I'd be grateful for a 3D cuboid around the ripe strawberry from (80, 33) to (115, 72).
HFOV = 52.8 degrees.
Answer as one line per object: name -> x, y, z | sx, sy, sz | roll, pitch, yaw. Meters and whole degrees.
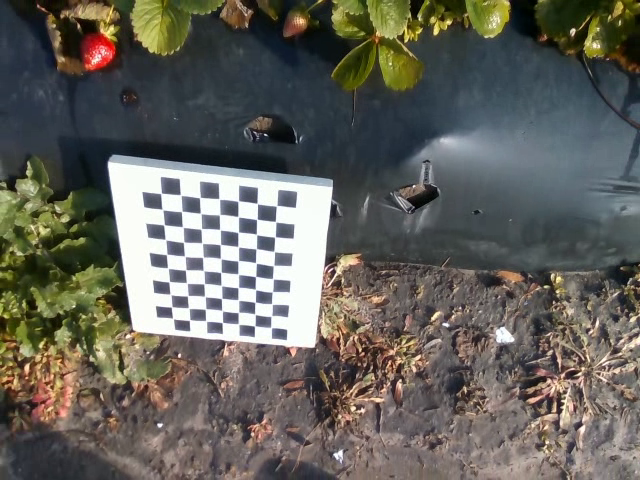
ripe strawberry -> -0.230, -0.183, 0.652 | 0.046, 0.054, 0.037 | 23, -13, -13
